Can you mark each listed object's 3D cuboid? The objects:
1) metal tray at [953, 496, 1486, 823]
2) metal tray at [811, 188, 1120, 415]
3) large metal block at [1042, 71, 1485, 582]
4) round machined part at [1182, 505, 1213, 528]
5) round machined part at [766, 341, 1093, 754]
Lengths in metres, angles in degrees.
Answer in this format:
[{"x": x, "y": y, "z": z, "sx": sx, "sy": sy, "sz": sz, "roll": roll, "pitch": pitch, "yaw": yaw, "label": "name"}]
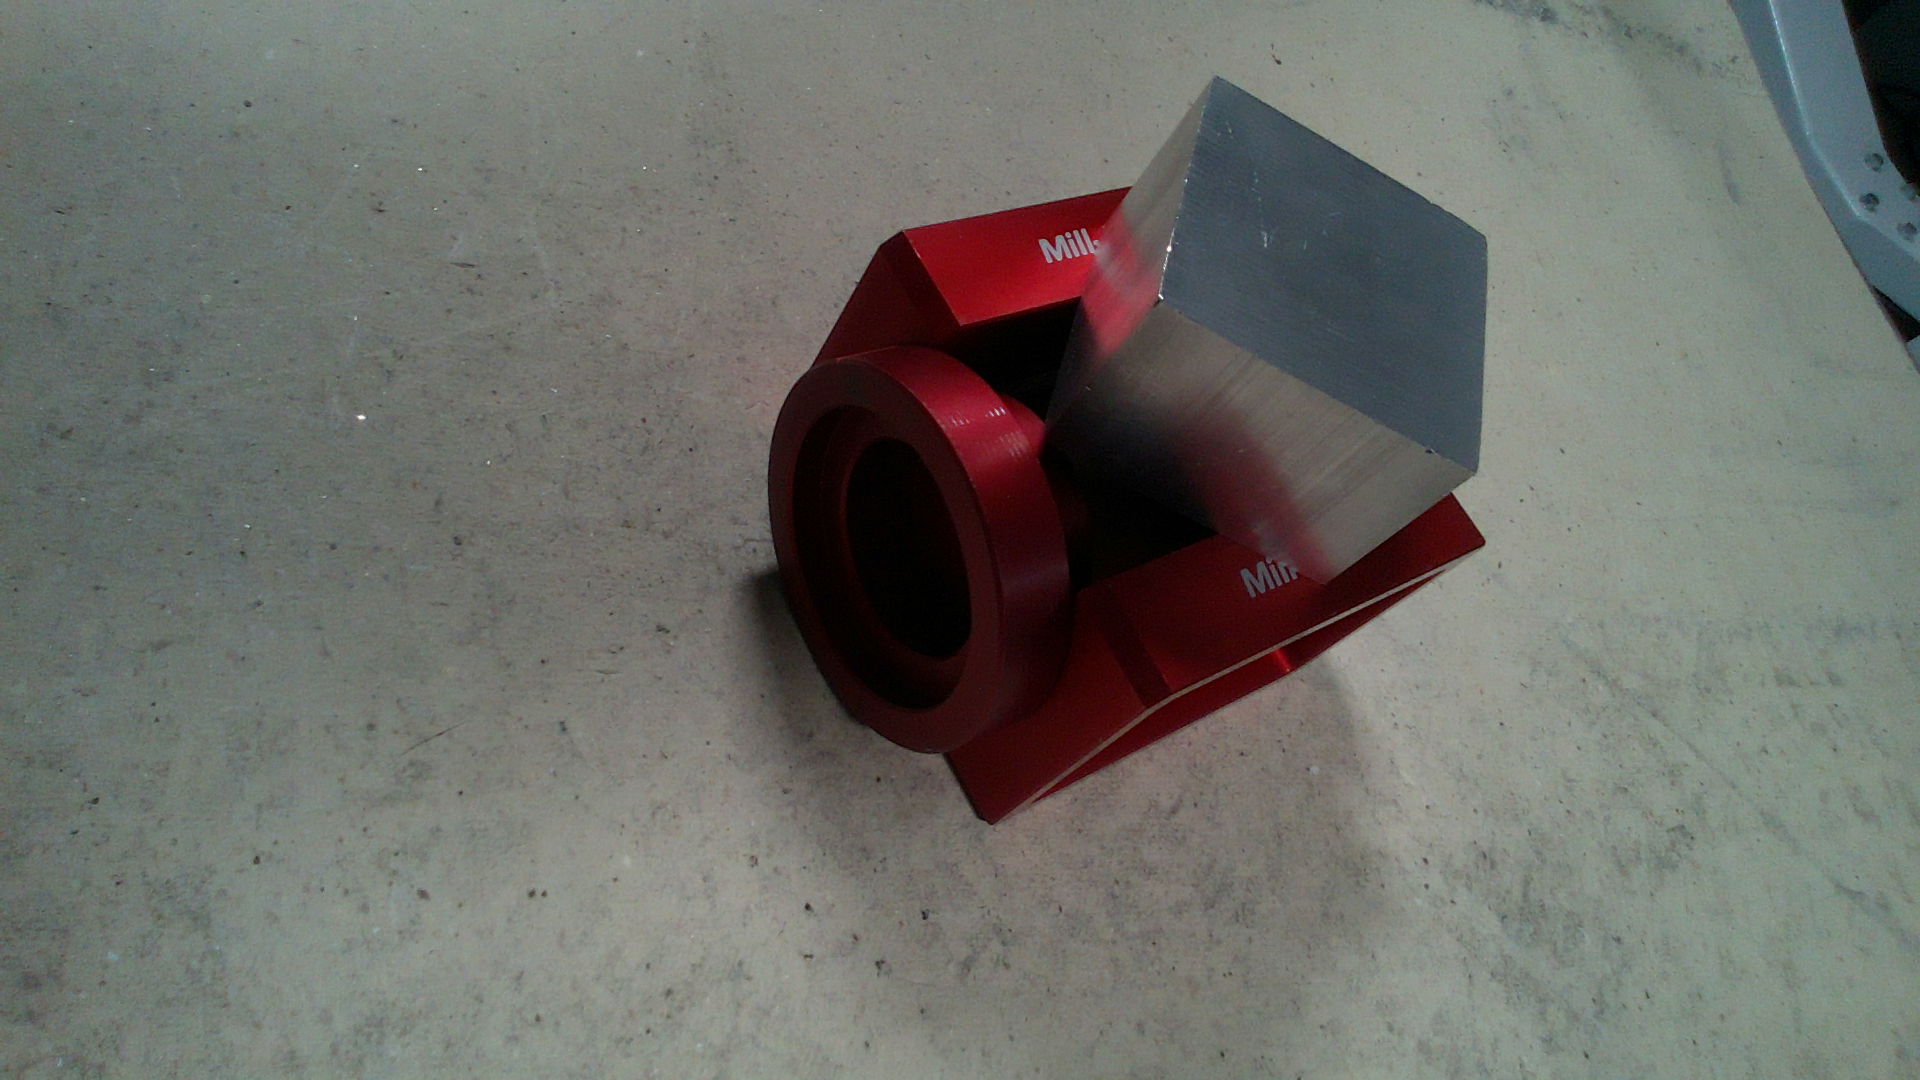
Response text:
[{"x": 0.067, "y": 0.025, "z": 0.367, "sx": 0.130, "sy": 0.090, "sz": 0.030, "roll": -19, "pitch": 72, "yaw": -35, "label": "metal tray"}, {"x": 0.020, "y": -0.058, "z": 0.396, "sx": 0.130, "sy": 0.090, "sz": 0.030, "roll": -20, "pitch": 72, "yaw": -35, "label": "metal tray"}, {"x": 0.074, "y": -0.050, "z": 0.325, "sx": 0.080, "sy": 0.050, "sz": 0.080, "roll": 26, "pitch": 52, "yaw": -12, "label": "large metal block"}, {"x": 0.097, "y": -0.035, "z": 0.416, "sx": 0.042, "sy": 0.098, "sz": 0.098, "roll": -17, "pitch": 70, "yaw": -34, "label": "round machined part"}, {"x": -0.005, "y": 0.000, "z": 0.340, "sx": 0.042, "sy": 0.098, "sz": 0.098, "roll": -17, "pitch": 70, "yaw": -34, "label": "round machined part"}]
